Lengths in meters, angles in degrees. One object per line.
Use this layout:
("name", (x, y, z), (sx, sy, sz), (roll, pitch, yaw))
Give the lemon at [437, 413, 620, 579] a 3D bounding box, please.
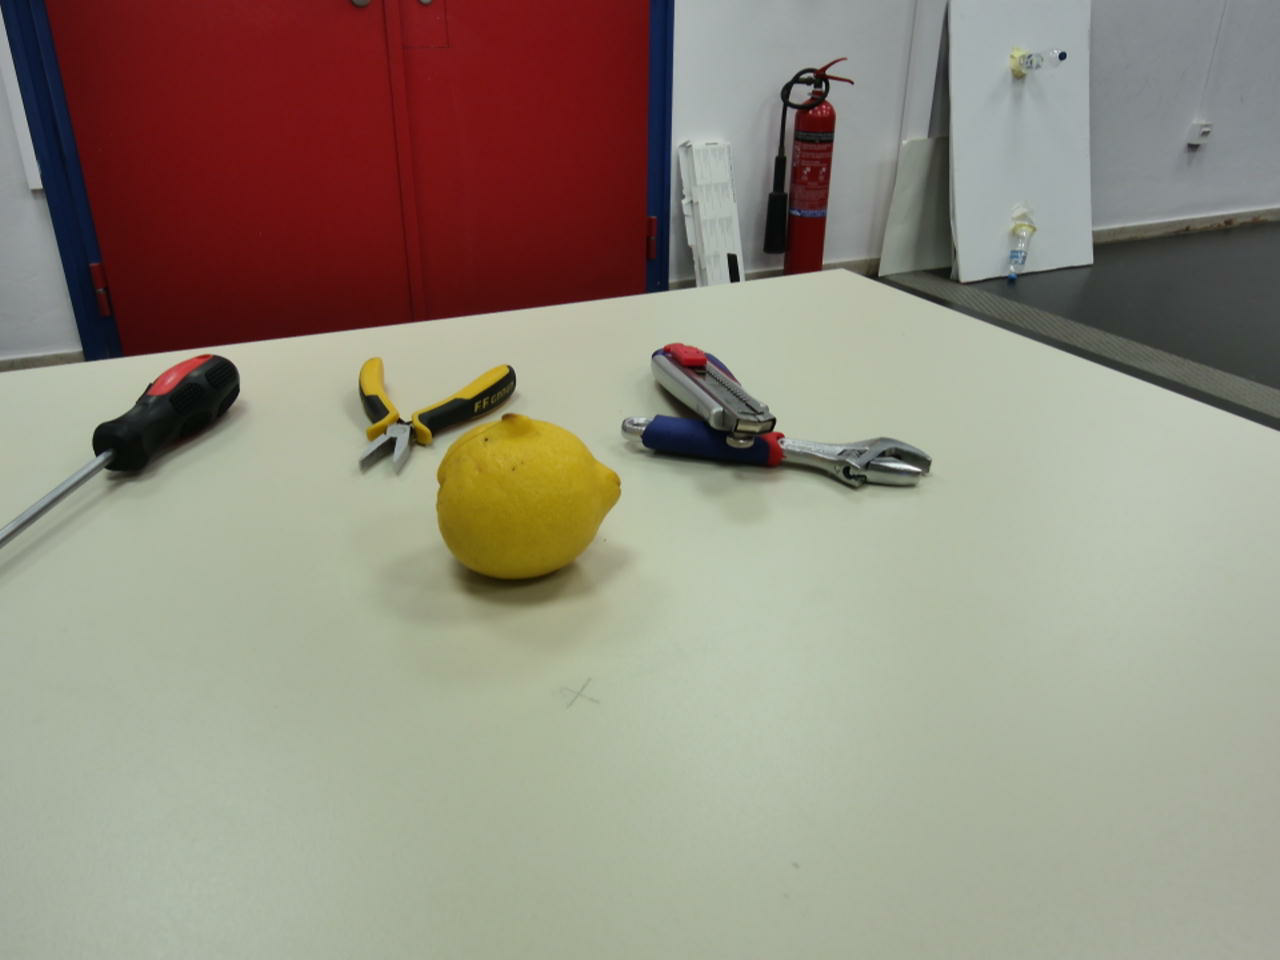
("lemon", (-0.051, 0.004, 0.416), (0.071, 0.071, 0.070), (12, 27, 27))
